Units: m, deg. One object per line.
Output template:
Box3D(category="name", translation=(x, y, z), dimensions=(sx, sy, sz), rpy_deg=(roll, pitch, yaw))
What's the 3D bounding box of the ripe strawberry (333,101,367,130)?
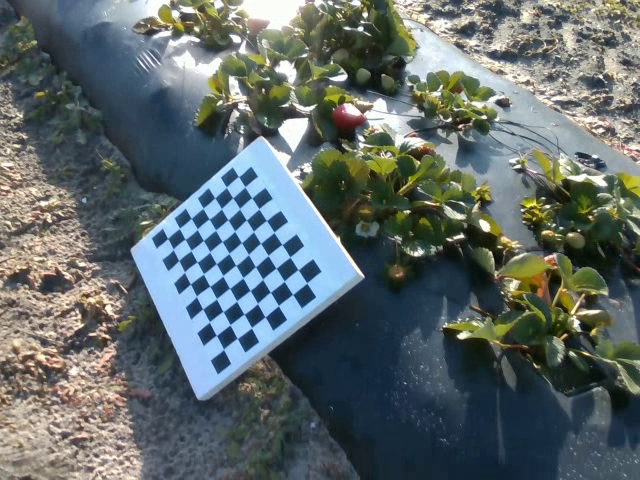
Box3D(category="ripe strawberry", translation=(0.045, -0.212, 1.065), dimensions=(0.072, 0.057, 0.055), rpy_deg=(24, -6, 43))
